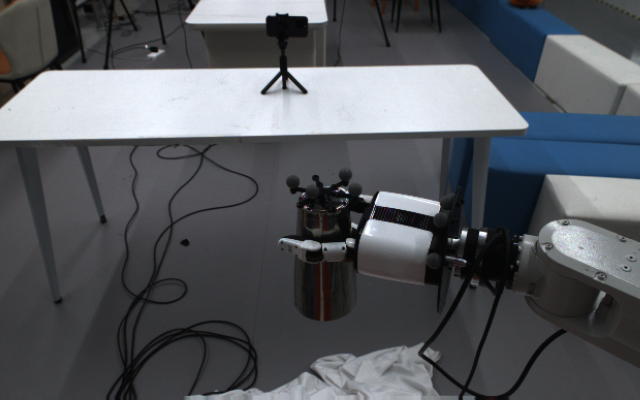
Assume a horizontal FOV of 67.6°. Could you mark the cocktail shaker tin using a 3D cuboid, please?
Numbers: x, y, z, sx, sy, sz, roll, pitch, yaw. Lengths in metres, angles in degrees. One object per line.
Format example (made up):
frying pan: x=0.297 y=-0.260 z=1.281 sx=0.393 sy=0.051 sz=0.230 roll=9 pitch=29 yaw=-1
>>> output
cocktail shaker tin: x=0.010 y=0.067 z=0.659 sx=0.093 sy=0.170 sz=0.093 roll=-1 pitch=32 yaw=1
